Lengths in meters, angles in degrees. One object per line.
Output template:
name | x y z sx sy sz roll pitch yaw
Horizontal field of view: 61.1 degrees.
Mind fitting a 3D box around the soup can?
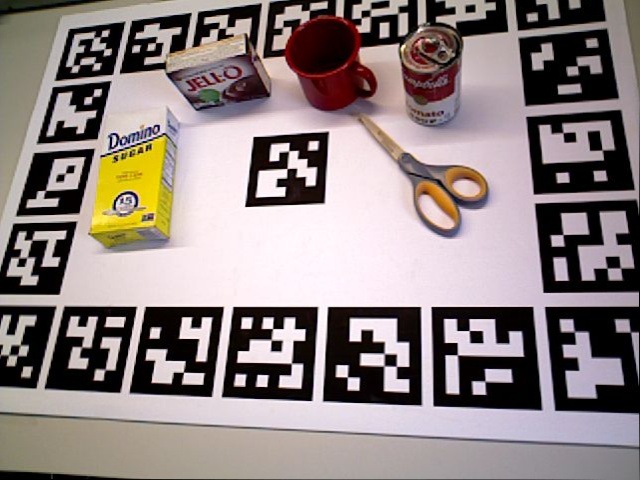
soup can | 0.134 -0.179 0.623 0.068 0.103 0.067 -5 67 11

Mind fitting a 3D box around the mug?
mug | 0.024 -0.213 0.665 0.093 0.082 0.116 -35 65 1

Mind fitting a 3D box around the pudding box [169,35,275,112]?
pudding box | -0.123 -0.212 0.693 0.114 0.090 0.038 -10 74 9

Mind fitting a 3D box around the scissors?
scissors | 0.113 -0.076 0.629 0.088 0.016 0.202 -44 68 6

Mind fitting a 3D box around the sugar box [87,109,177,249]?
sugar box | -0.242 -0.080 0.706 0.093 0.045 0.175 -4 71 14
